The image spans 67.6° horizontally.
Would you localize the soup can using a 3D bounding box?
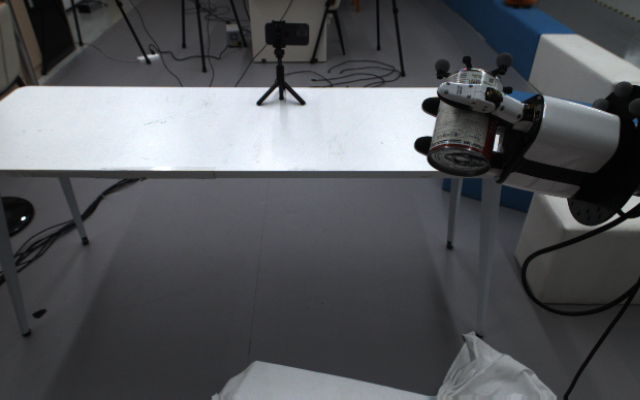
[{"bbox_3d":[0.165,-0.088,0.544,0.067,0.067,0.101,11,72,13],"label":"soup can"}]
